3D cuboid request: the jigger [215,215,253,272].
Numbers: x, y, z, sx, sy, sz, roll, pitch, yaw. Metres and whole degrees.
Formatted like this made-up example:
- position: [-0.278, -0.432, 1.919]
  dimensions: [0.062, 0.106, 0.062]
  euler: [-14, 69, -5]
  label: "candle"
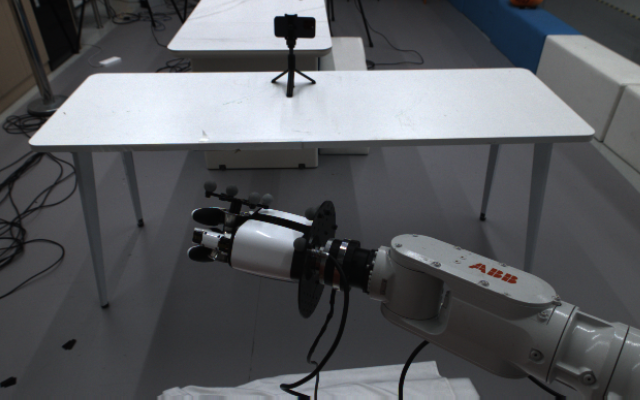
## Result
- position: [-0.124, 0.050, 0.677]
  dimensions: [0.043, 0.071, 0.043]
  euler: [14, 1, 0]
  label: "jigger"
